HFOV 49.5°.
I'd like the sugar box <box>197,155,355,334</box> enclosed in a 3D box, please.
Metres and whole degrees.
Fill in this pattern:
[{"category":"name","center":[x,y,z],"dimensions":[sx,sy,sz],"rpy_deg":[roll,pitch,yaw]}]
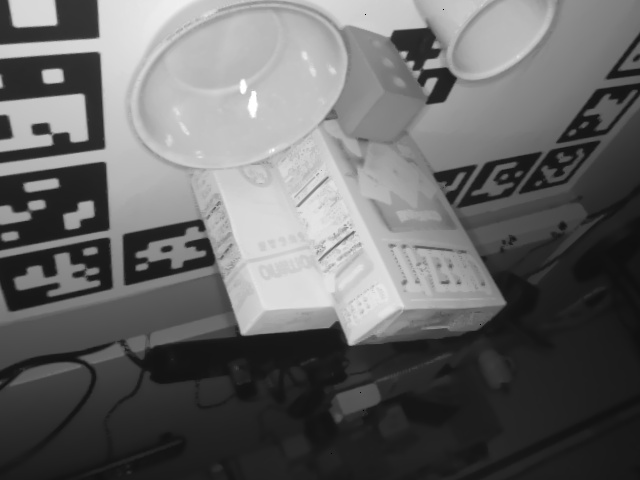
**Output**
[{"category":"sugar box","center":[-0.035,-0.006,0.604],"dimensions":[0.094,0.176,0.044],"rpy_deg":[2,142,-40]}]

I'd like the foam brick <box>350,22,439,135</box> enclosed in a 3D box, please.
[{"category":"foam brick","center":[0.054,-0.134,0.578],"dimensions":[0.053,0.078,0.050],"rpy_deg":[-3,145,-35]}]

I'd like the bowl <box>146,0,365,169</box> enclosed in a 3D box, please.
[{"category":"bowl","center":[-0.051,-0.124,0.504],"dimensions":[0.163,0.055,0.160],"rpy_deg":[-20,150,-11]}]

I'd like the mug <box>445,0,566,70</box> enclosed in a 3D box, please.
[{"category":"mug","center":[0.150,-0.195,0.532],"dimensions":[0.118,0.081,0.092],"rpy_deg":[-19,158,-16]}]

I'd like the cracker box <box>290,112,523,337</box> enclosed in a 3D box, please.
[{"category":"cracker box","center":[0.075,-0.022,0.628],"dimensions":[0.166,0.214,0.071],"rpy_deg":[10,138,-45]}]
